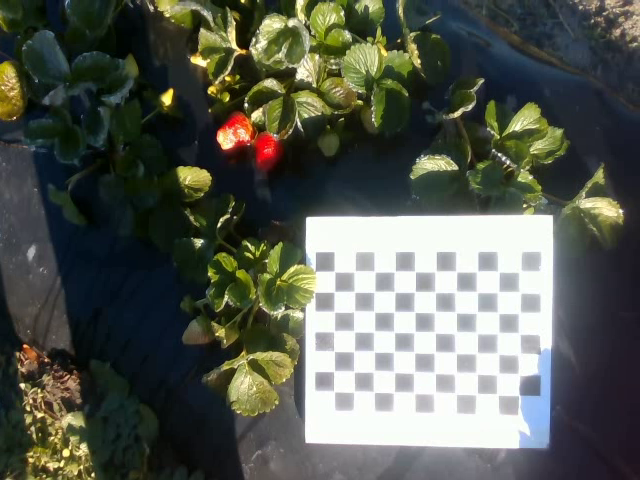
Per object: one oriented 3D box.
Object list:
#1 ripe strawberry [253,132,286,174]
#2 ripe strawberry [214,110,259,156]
[{"bbox_3d":[-0.079,-0.132,0.902,0.043,0.059,0.040,0,-5,7],"label":"ripe strawberry"},{"bbox_3d":[-0.126,-0.155,0.917,0.069,0.053,0.040,-44,2,-3],"label":"ripe strawberry"}]
